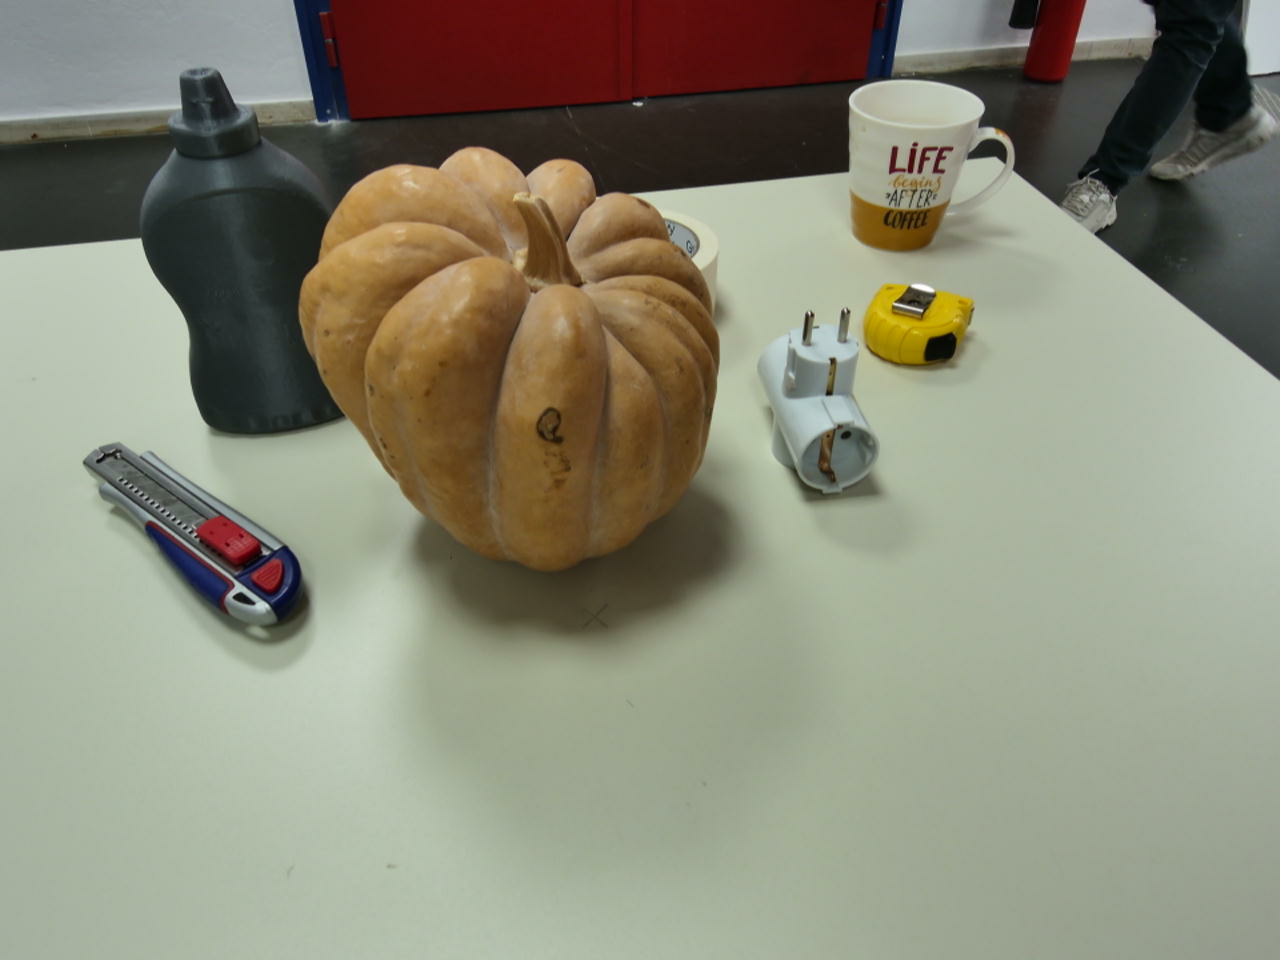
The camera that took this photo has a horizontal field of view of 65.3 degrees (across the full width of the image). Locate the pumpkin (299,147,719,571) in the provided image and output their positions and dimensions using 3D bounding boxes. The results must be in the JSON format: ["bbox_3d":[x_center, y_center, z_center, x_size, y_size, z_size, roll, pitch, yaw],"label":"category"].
[{"bbox_3d":[-0.055,-0.055,0.471,0.199,0.177,0.198,0,39,0],"label":"pumpkin"}]
